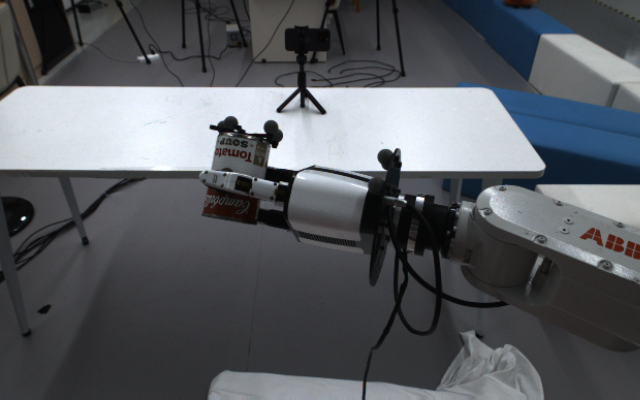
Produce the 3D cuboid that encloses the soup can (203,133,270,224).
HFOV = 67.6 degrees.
[{"bbox_3d":[-0.100,-0.024,0.592,0.067,0.101,0.067,9,-5,1],"label":"soup can"}]
